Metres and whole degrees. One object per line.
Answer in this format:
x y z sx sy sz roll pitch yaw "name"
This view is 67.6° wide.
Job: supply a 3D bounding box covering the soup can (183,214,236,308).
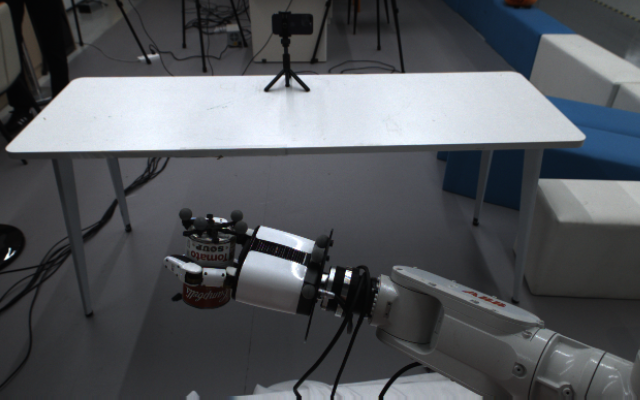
-0.152 0.090 0.665 0.067 0.101 0.067 8 19 -3 "soup can"
